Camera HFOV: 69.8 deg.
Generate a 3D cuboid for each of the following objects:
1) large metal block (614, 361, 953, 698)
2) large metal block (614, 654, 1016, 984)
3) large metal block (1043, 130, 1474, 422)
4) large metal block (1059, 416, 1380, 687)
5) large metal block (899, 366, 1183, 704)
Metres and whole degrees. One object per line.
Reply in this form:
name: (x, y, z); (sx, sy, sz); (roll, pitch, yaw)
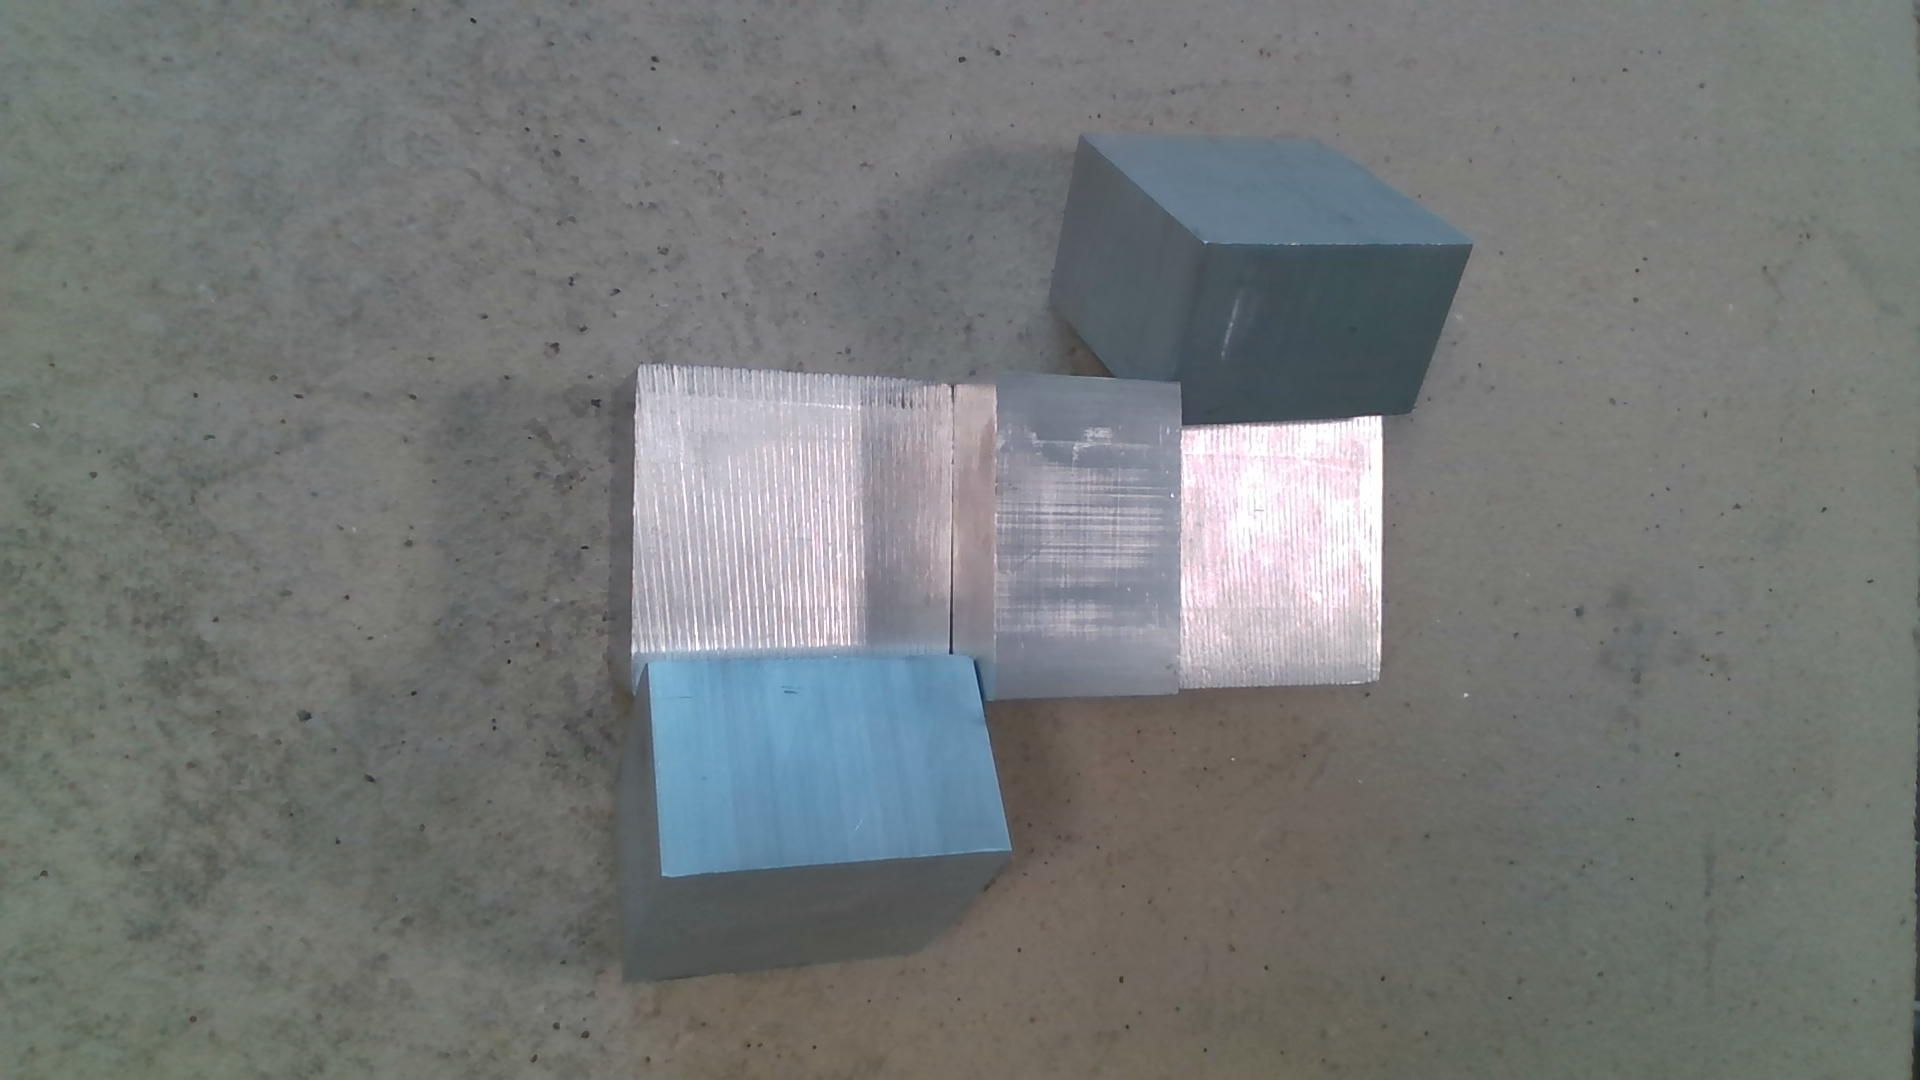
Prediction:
large metal block: (-0.048, -0.002, 0.363); (0.080, 0.050, 0.080); (1, 89, -19)
large metal block: (-0.041, 0.070, 0.343); (0.080, 0.080, 0.050); (0, 58, -20)
large metal block: (0.079, -0.076, 0.386); (0.080, 0.080, 0.050); (-4, 125, -20)
large metal block: (0.075, 0.001, 0.407); (0.080, 0.050, 0.080); (0, 89, -21)
large metal block: (0.018, -0.001, 0.372); (0.050, 0.080, 0.080); (0, 90, -20)
